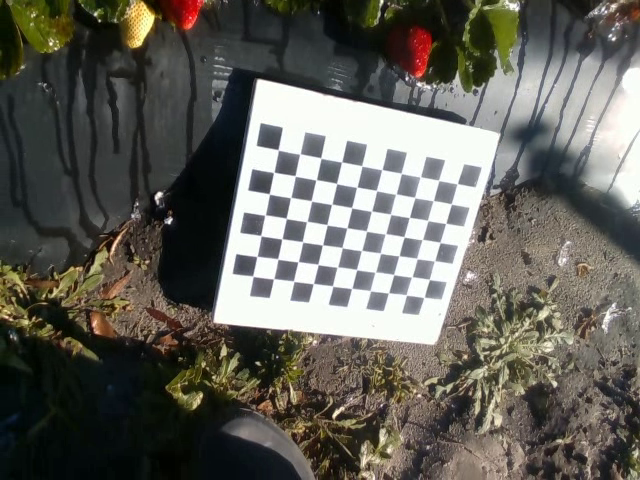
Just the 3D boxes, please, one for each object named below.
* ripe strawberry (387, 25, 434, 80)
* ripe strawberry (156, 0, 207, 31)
[{"bbox_3d":[0.095,-0.190,0.594,0.048,0.061,0.044,1,-14,-16],"label":"ripe strawberry"},{"bbox_3d":[-0.125,-0.210,0.533,0.042,0.061,0.046,-6,-22,-13],"label":"ripe strawberry"}]
